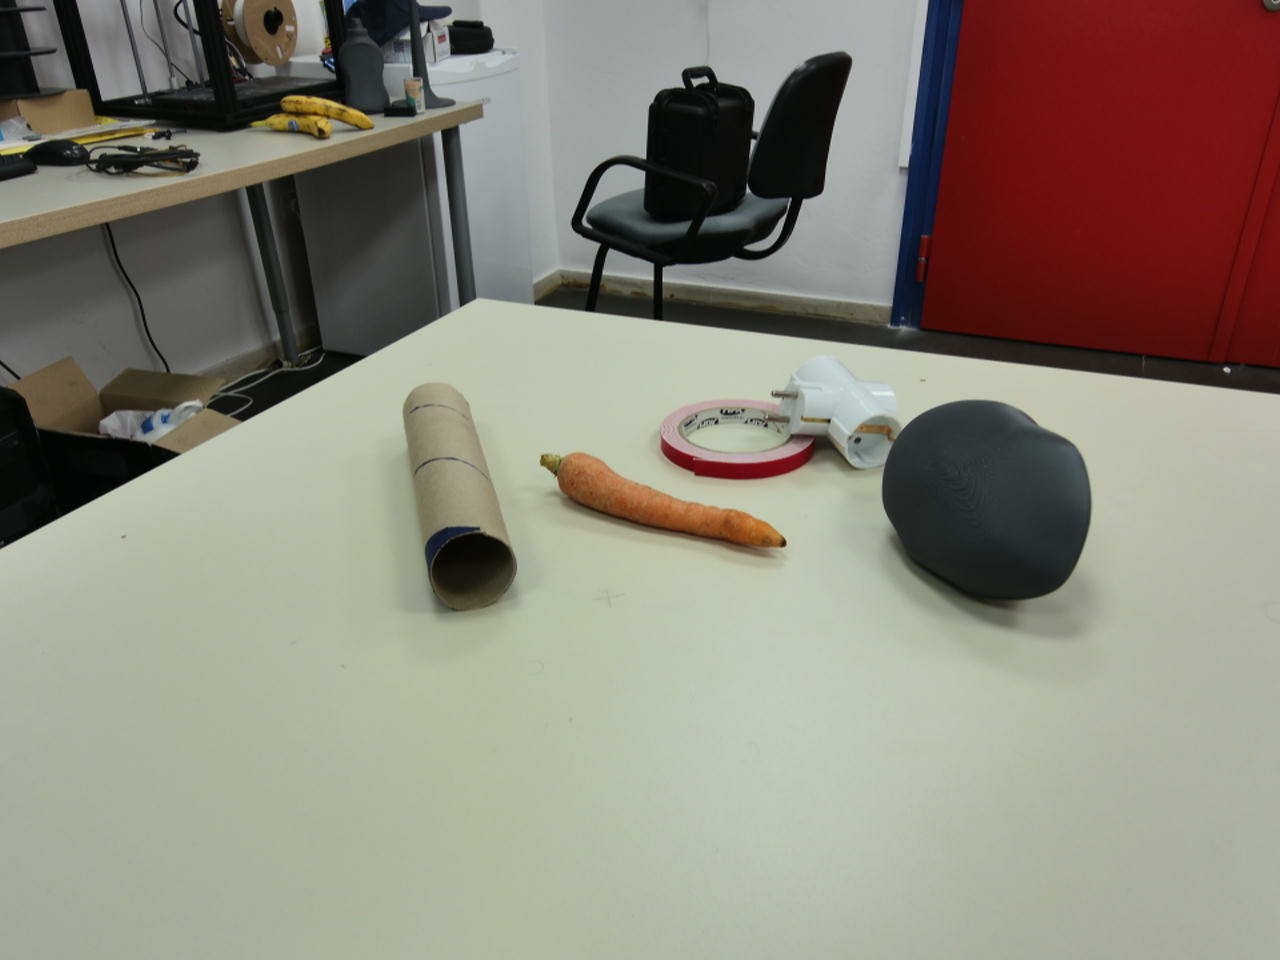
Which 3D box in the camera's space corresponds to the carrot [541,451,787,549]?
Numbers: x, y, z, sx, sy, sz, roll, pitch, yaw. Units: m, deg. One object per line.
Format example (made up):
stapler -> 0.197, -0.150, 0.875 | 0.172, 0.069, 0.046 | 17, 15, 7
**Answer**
carrot -> 0.012, 0.013, 0.624 | 0.173, 0.032, 0.030 | 15, 30, 30
